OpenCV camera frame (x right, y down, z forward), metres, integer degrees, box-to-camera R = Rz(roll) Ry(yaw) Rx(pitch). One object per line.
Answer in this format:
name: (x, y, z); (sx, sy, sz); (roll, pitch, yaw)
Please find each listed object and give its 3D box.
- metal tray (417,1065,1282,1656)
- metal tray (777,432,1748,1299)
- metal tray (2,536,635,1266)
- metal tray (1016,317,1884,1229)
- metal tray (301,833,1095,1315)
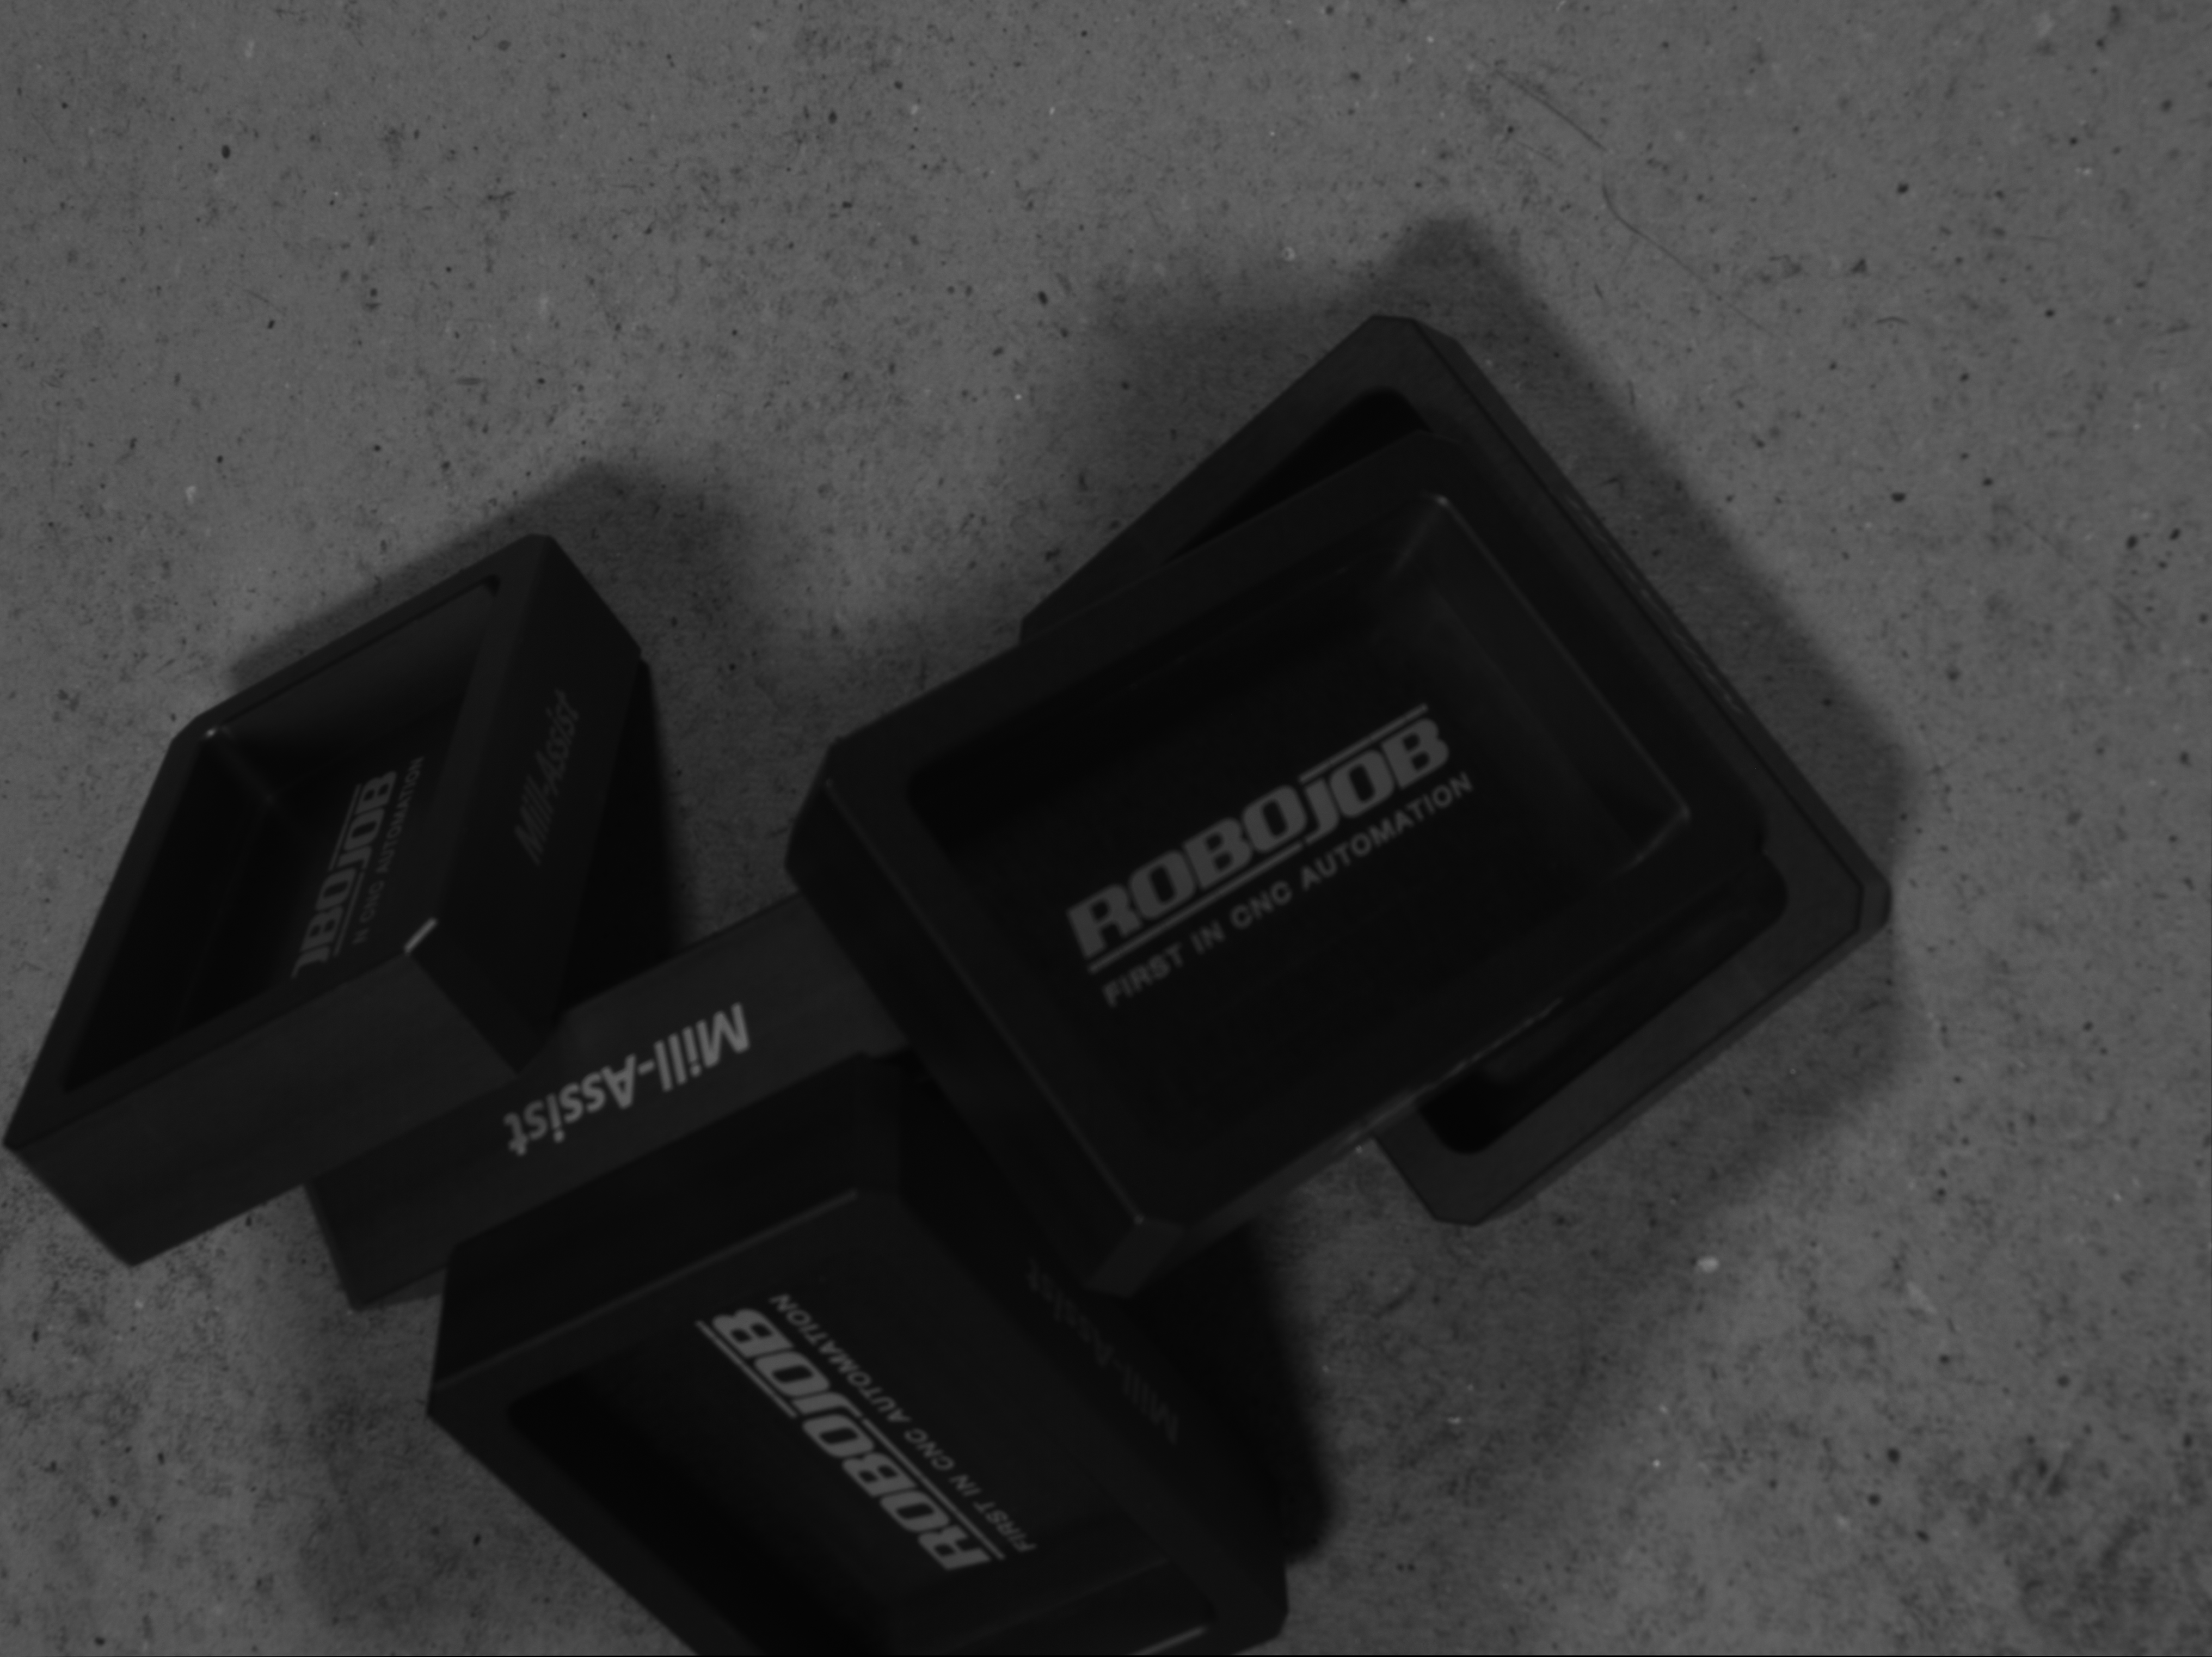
metal tray: (-0.040, 0.105, 0.612); (0.090, 0.030, 0.130); (-26, 126, 18)
metal tray: (0.026, 0.003, 0.576); (0.130, 0.030, 0.090); (-30, 77, -28)
metal tray: (-0.135, 0.009, 0.642); (0.090, 0.130, 0.030); (-26, 120, 18)
metal tray: (0.057, -0.010, 0.622); (0.090, 0.030, 0.130); (-40, 77, 15)
metal tray: (-0.063, 0.041, 0.632); (0.130, 0.090, 0.030); (-26, 81, 18)
